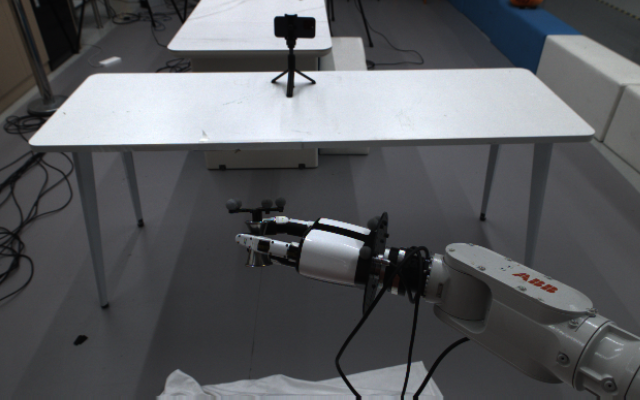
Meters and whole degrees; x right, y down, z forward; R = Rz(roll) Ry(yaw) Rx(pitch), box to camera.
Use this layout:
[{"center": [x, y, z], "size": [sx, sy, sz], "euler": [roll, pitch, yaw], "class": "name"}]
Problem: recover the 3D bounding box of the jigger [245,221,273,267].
[{"center": [-0.096, 0.066, 0.747], "size": [0.043, 0.071, 0.043], "euler": [-2, 3, 0], "class": "jigger"}]
